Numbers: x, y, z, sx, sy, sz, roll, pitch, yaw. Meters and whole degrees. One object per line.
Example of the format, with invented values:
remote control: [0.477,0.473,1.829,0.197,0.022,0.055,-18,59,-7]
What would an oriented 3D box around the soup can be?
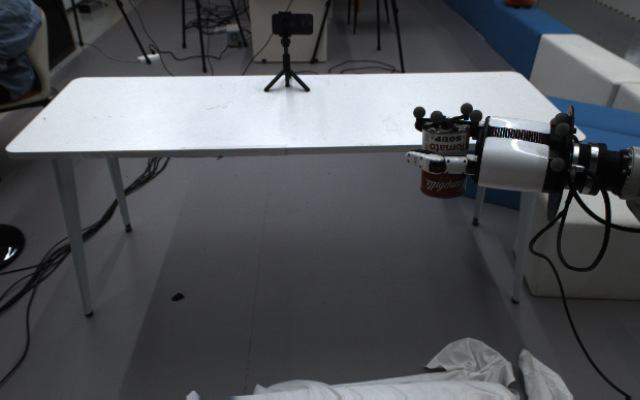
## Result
soup can: [0.184,-0.063,0.711,0.067,0.101,0.067,-3,26,2]
